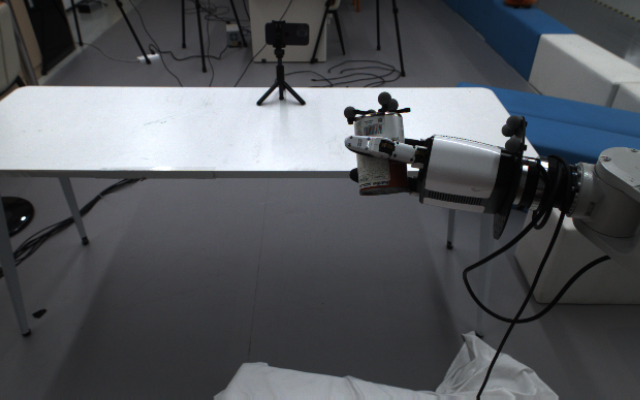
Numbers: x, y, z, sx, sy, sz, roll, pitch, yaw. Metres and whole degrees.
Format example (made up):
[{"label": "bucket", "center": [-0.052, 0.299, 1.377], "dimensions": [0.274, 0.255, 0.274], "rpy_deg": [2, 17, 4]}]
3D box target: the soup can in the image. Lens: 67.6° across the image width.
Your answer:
[{"label": "soup can", "center": [0.084, -0.060, 0.653], "dimensions": [0.067, 0.101, 0.067], "rpy_deg": [-5, -5, 0]}]
